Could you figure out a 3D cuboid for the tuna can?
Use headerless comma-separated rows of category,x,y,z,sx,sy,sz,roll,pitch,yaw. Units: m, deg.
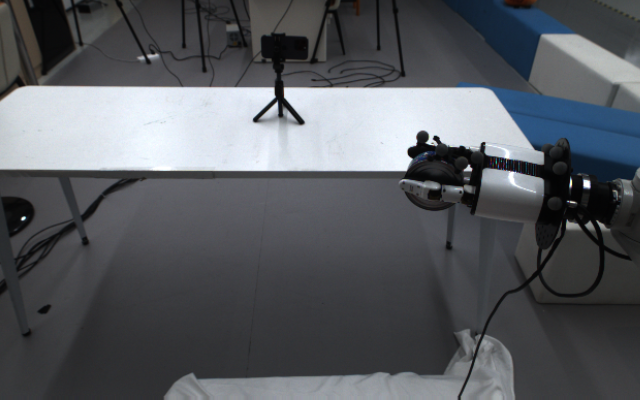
tuna can,0.169,-0.031,0.712,0.085,0.085,0.034,12,33,14
